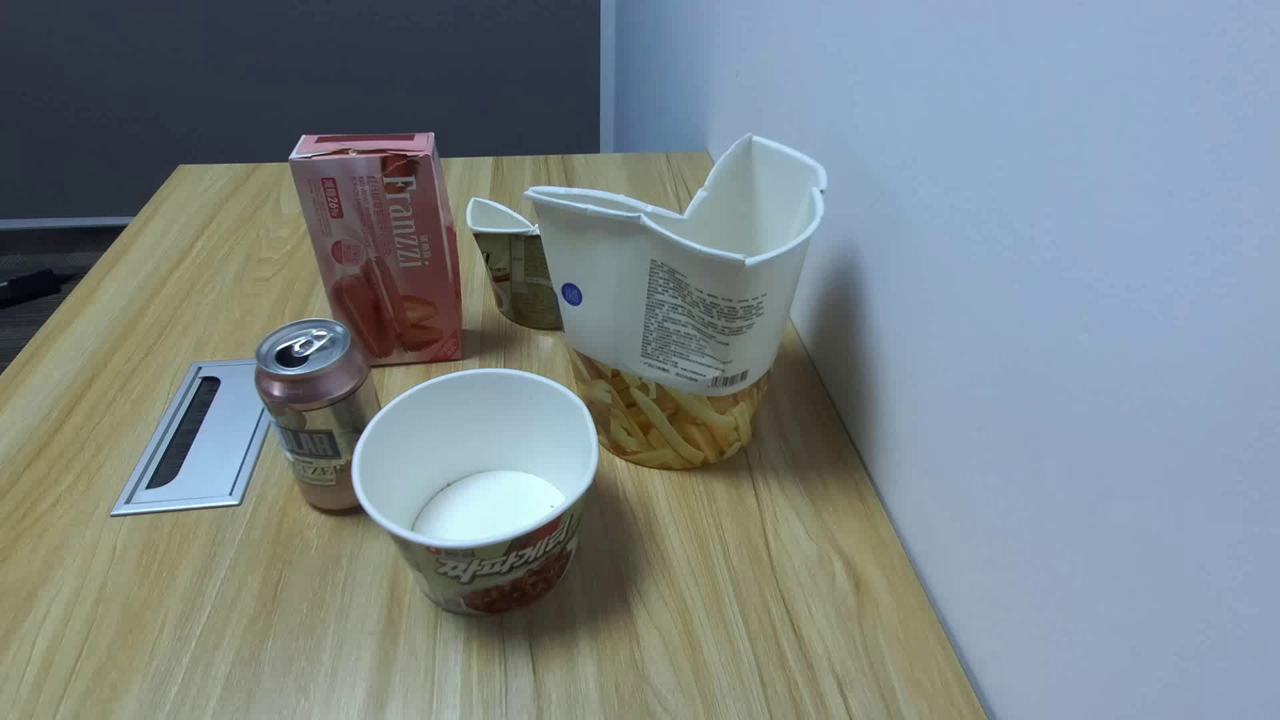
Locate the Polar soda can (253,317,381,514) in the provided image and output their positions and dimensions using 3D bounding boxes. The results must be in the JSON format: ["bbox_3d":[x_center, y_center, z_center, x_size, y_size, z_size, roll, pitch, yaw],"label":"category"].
[{"bbox_3d":[-0.205,0.038,0.464,0.067,0.126,0.067,2,39,-2],"label":"Polar soda can"}]

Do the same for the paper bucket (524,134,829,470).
[{"bbox_3d":[0.034,-0.044,0.515,0.168,0.202,0.163,25,44,21],"label":"paper bucket"}]

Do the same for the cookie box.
[{"bbox_3d":[-0.196,-0.084,0.560,0.105,0.188,0.048,-5,40,-9],"label":"cookie box"}]

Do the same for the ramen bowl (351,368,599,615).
[{"bbox_3d":[-0.095,0.087,0.440,0.140,0.095,0.140,2,38,-1],"label":"ramen bowl"}]

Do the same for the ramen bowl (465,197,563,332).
[{"bbox_3d":[-0.088,-0.098,0.655,0.128,0.093,0.111,10,41,11],"label":"ramen bowl"}]
